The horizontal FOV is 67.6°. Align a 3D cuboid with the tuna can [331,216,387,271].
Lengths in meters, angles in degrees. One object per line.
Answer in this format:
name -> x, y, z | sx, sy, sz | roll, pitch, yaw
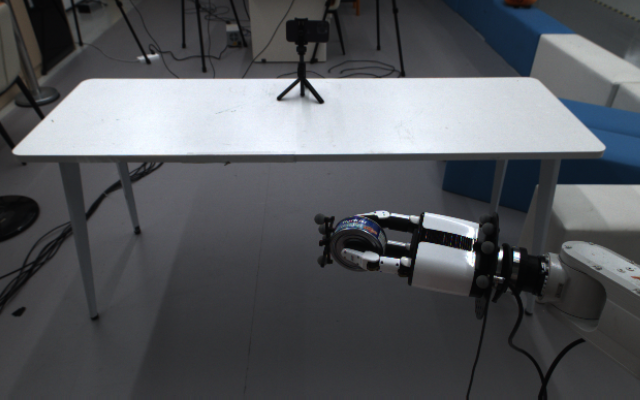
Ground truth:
tuna can -> 0.061, 0.070, 0.743 | 0.085, 0.085, 0.034 | 9, 32, 10
